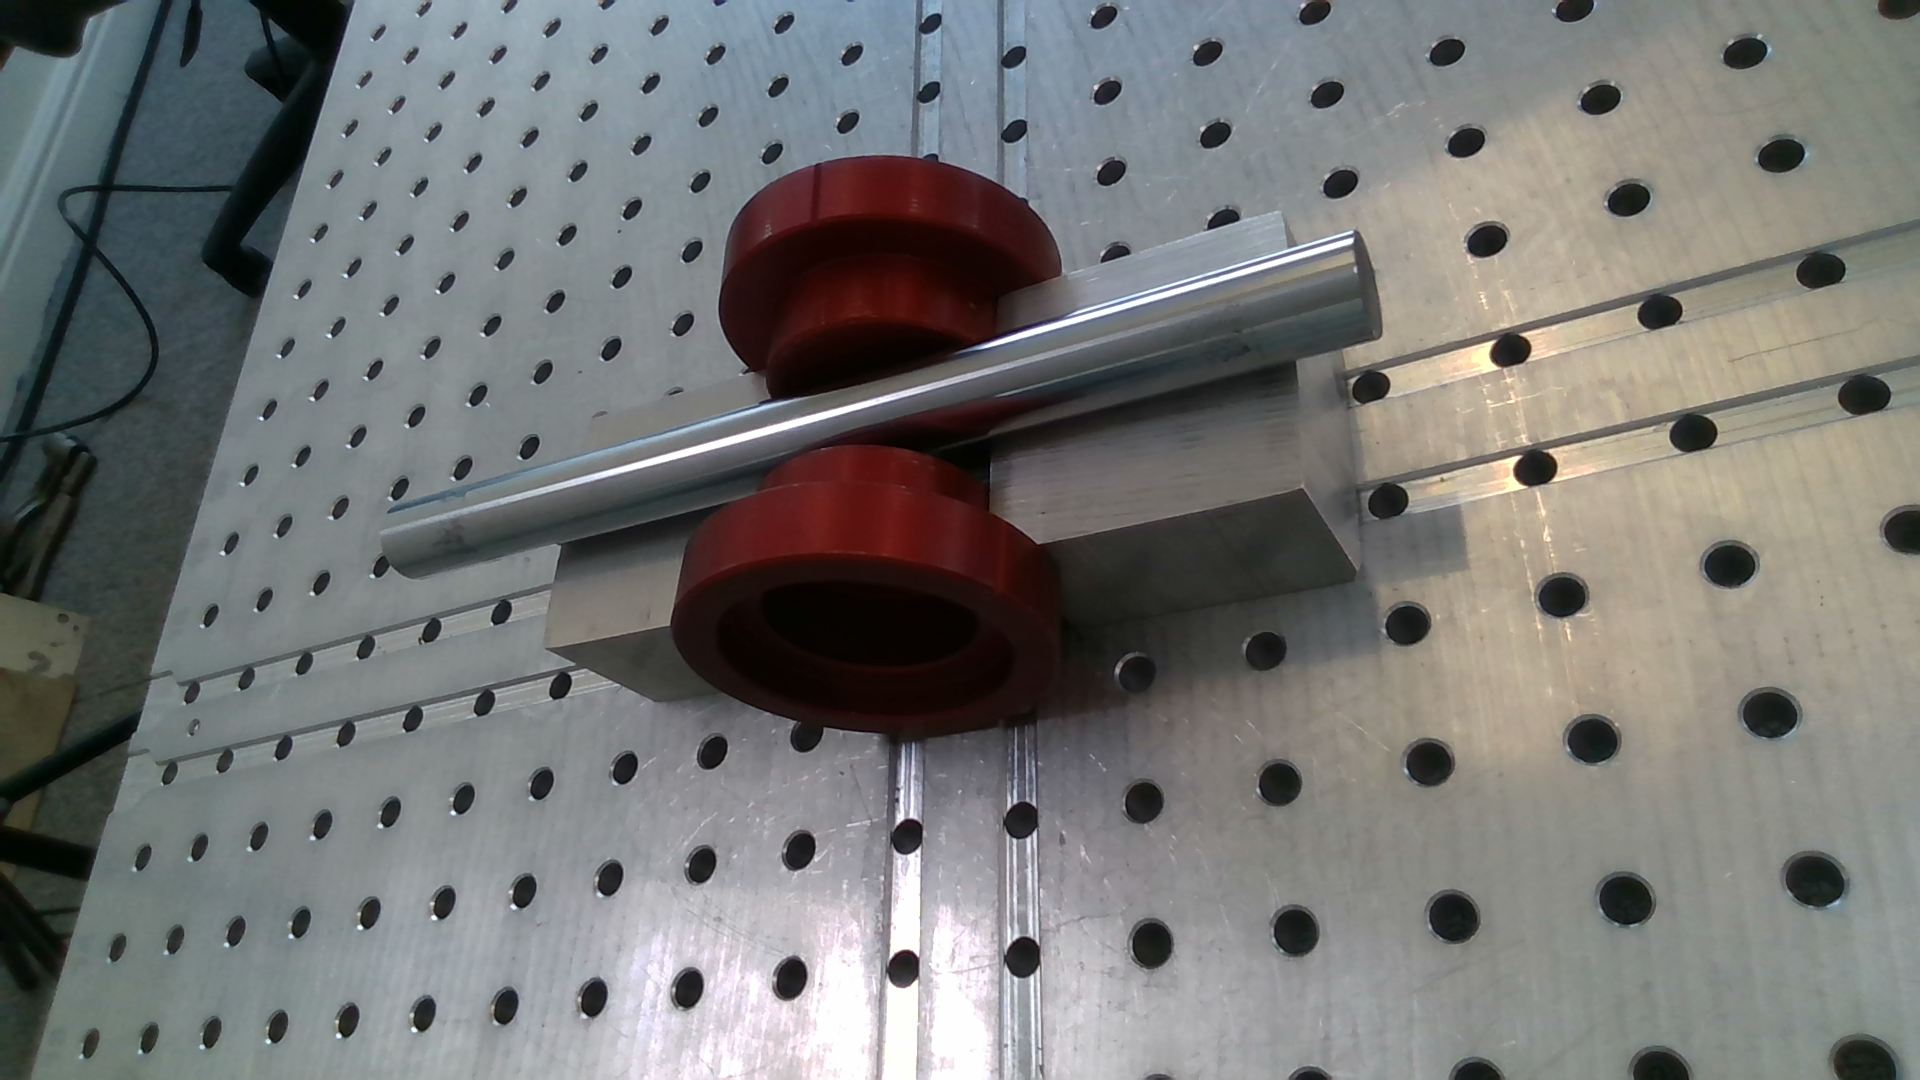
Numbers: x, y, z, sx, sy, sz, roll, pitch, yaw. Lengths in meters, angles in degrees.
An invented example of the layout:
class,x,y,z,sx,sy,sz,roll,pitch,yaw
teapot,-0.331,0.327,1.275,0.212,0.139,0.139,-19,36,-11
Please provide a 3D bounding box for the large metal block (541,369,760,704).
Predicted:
class,x,y,z,sx,sy,sz,roll,pitch,yaw
large metal block,-0.075,0.000,0.426,0.080,0.050,0.080,-12,60,26

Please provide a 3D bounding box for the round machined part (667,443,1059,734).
class,x,y,z,sx,sy,sz,roll,pitch,yaw
round machined part,-0.023,0.011,0.357,0.098,0.098,0.042,-13,55,26

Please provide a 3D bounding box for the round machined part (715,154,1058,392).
class,x,y,z,sx,sy,sz,roll,pitch,yaw
round machined part,-0.020,-0.060,0.392,0.098,0.098,0.042,-13,59,26

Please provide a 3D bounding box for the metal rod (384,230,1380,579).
class,x,y,z,sx,sy,sz,roll,pitch,yaw
metal rod,-0.041,-0.028,0.372,0.300,0.025,0.025,-12,60,26

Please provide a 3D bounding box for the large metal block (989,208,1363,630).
class,x,y,z,sx,sy,sz,roll,pitch,yaw
large metal block,0.055,-0.029,0.361,0.080,0.050,0.080,-12,60,26
